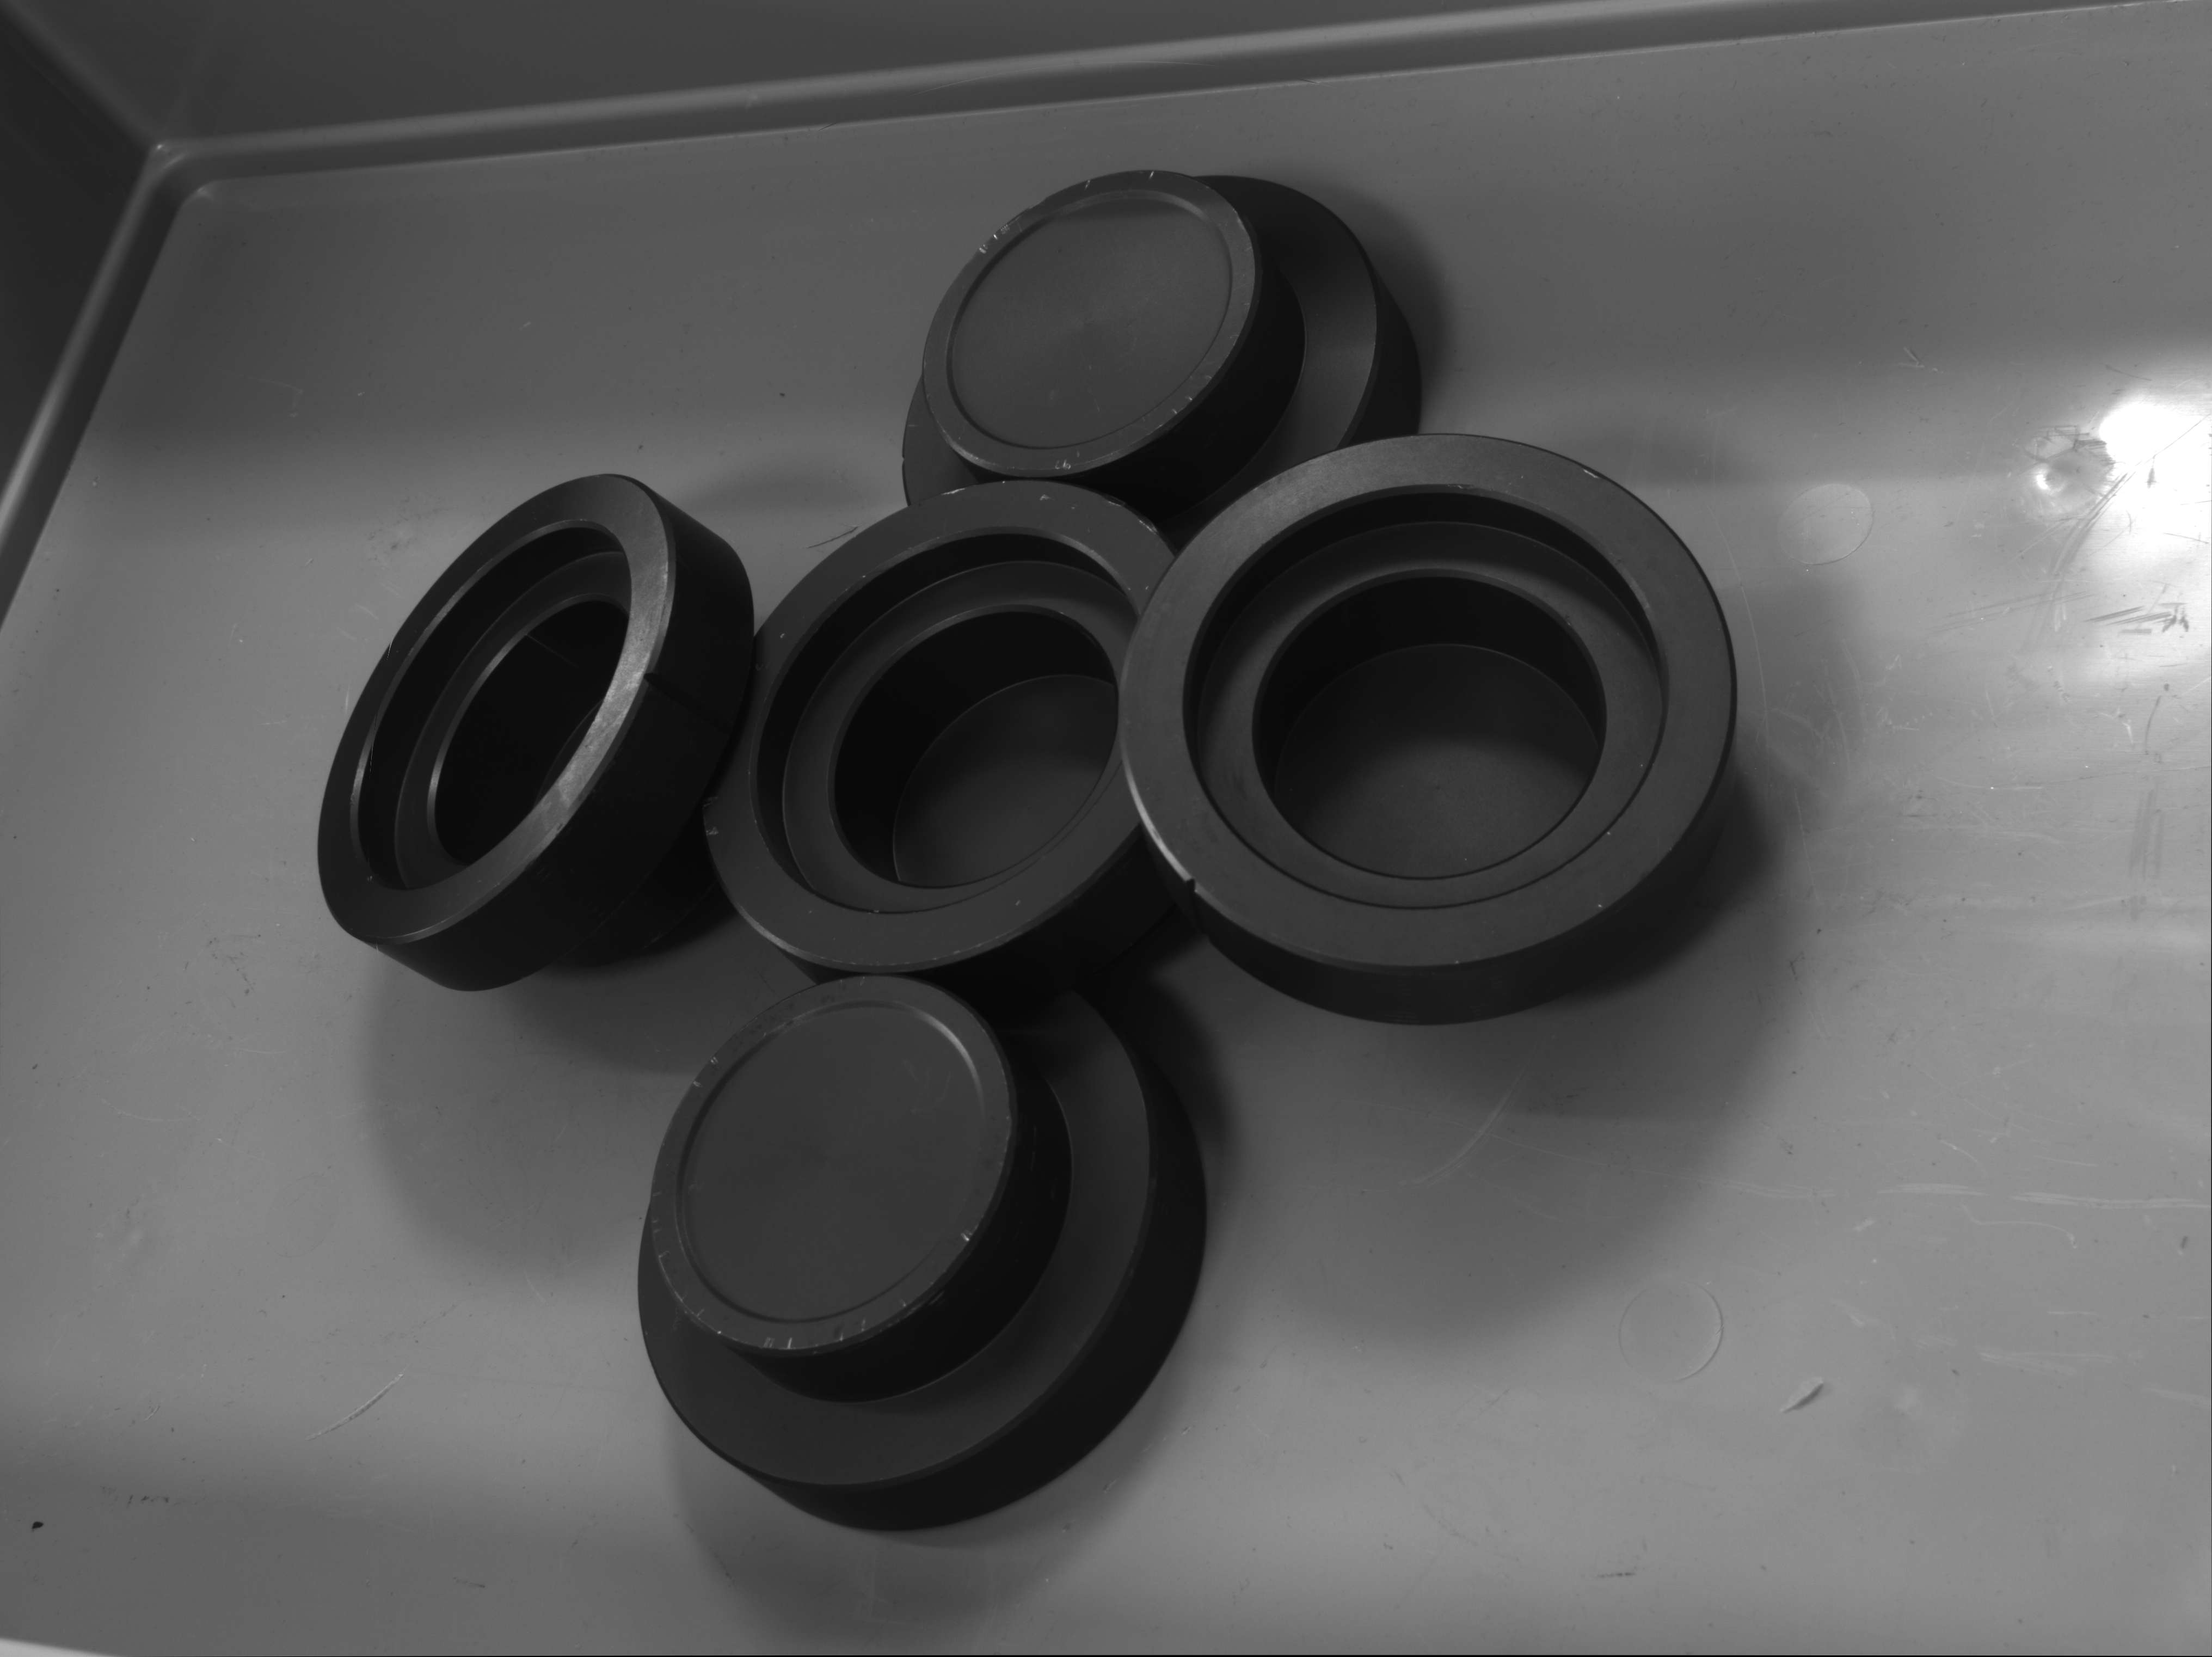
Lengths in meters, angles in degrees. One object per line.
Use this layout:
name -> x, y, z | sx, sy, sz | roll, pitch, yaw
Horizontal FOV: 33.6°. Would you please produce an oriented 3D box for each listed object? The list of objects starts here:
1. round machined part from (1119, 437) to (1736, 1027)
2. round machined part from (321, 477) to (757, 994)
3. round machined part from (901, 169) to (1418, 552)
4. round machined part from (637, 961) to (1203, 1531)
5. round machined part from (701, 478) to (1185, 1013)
round machined part -> 0.054, -0.012, 0.600 | 0.098, 0.042, 0.098 | -4, 62, 8
round machined part -> -0.099, -0.013, 0.683 | 0.098, 0.042, 0.098 | -28, 44, 32
round machined part -> 0.005, -0.082, 0.680 | 0.098, 0.042, 0.098 | -13, 56, 21
round machined part -> -0.037, 0.064, 0.613 | 0.098, 0.042, 0.098 | -13, 56, 21
round machined part -> -0.019, -0.010, 0.648 | 0.098, 0.042, 0.098 | -13, 56, 21
